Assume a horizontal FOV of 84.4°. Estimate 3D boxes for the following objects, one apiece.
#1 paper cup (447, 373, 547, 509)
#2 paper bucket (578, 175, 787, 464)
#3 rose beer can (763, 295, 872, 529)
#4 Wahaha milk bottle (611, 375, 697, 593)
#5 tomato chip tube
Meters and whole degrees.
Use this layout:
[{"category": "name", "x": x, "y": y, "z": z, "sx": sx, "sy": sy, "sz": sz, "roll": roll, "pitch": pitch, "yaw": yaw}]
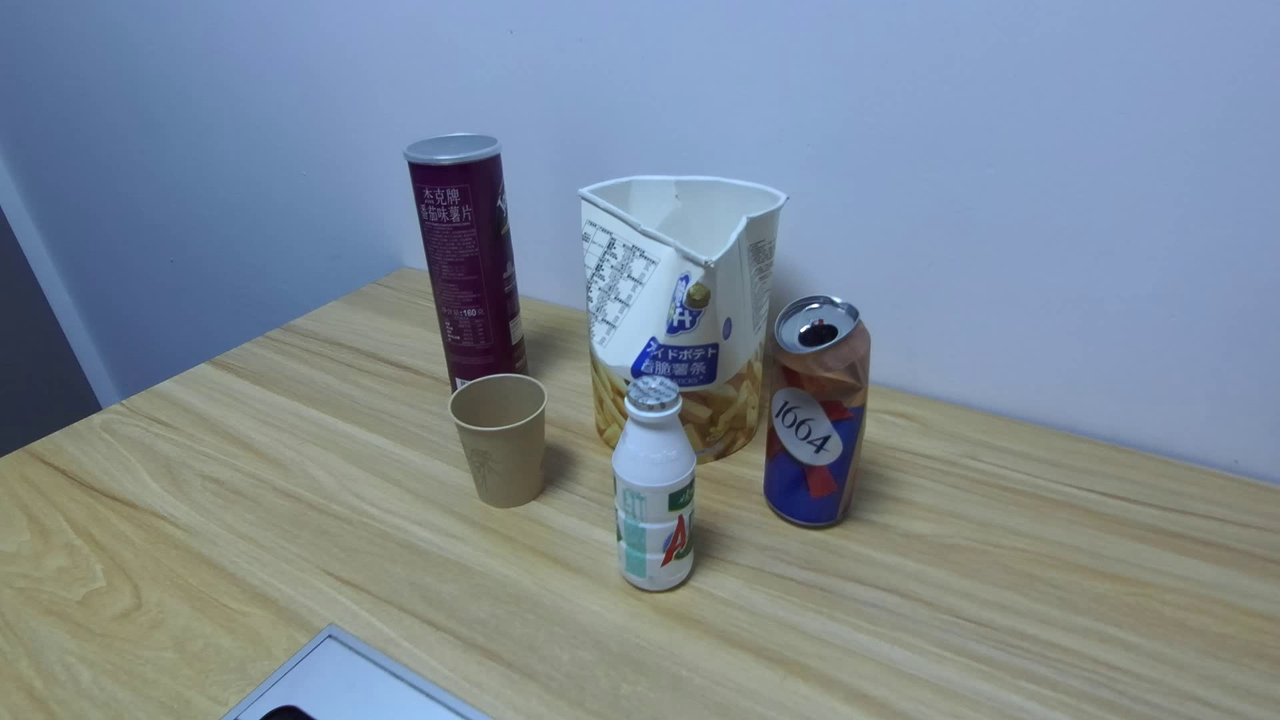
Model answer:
[{"category": "paper cup", "x": -0.105, "y": 0.066, "z": 0.549, "sx": 0.075, "sy": 0.082, "sz": 0.075, "roll": -1, "pitch": 29, "yaw": 1}, {"category": "paper bucket", "x": 0.023, "y": -0.035, "z": 0.596, "sx": 0.162, "sy": 0.202, "sz": 0.169, "roll": 13, "pitch": 31, "yaw": 26}, {"category": "rose beer can", "x": 0.124, "y": 0.039, "z": 0.499, "sx": 0.069, "sy": 0.168, "sz": 0.070, "roll": 5, "pitch": 35, "yaw": 16}, {"category": "Wahaha milk bottle", "x": 0.010, "y": 0.080, "z": 0.451, "sx": 0.053, "sy": 0.147, "sz": 0.053, "roll": -2, "pitch": 30, "yaw": 1}, {"category": "tomato chip tube", "x": -0.150, "y": -0.074, "z": 0.636, "sx": 0.078, "sy": 0.234, "sz": 0.078, "roll": -1, "pitch": 31, "yaw": 1}]
